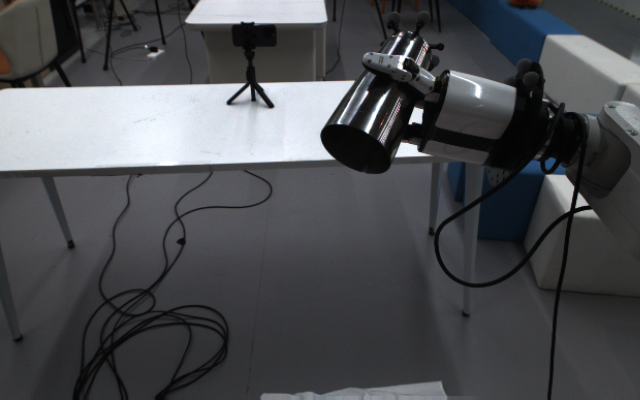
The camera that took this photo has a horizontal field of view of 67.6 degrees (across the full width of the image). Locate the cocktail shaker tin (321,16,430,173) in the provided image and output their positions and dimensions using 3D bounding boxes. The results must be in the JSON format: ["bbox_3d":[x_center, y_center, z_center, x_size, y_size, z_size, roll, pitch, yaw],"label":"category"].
[{"bbox_3d":[0.082,-0.131,0.601,0.093,0.093,0.170,18,66,21],"label":"cocktail shaker tin"}]
